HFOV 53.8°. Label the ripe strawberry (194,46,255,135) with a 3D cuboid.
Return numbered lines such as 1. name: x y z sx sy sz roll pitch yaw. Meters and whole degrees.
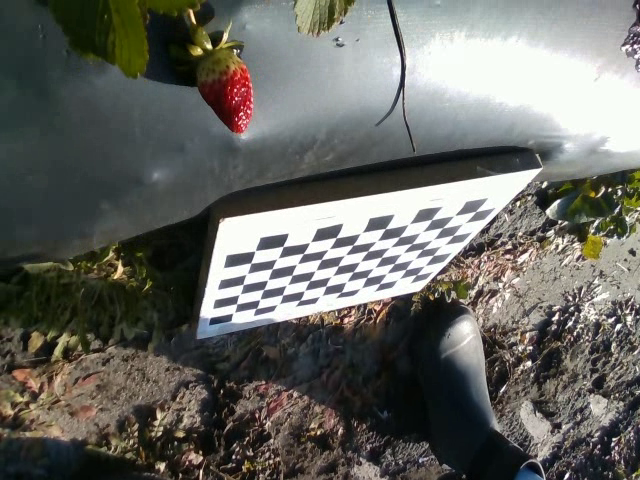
1. ripe strawberry: -0.041 -0.066 0.285 0.028 0.041 0.031 -19 11 3
